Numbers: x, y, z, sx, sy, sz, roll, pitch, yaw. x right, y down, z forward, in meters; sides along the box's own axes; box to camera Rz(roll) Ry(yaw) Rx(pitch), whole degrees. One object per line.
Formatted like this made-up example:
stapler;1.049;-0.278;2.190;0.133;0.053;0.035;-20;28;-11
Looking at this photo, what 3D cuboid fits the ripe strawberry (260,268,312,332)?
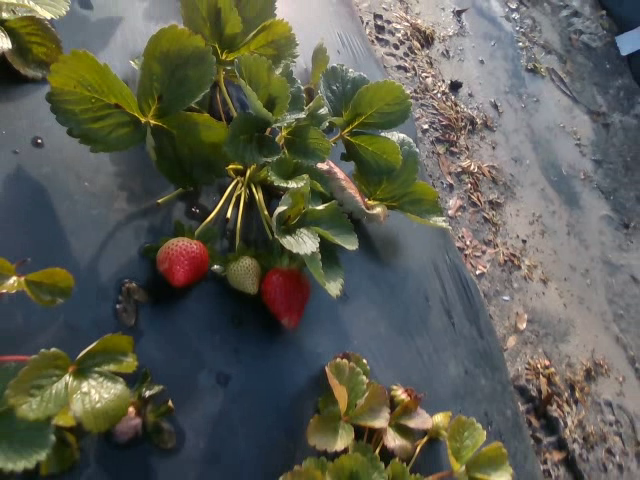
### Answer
ripe strawberry;-0.030;0.053;0.515;0.048;0.065;0.050;-6;-20;12
